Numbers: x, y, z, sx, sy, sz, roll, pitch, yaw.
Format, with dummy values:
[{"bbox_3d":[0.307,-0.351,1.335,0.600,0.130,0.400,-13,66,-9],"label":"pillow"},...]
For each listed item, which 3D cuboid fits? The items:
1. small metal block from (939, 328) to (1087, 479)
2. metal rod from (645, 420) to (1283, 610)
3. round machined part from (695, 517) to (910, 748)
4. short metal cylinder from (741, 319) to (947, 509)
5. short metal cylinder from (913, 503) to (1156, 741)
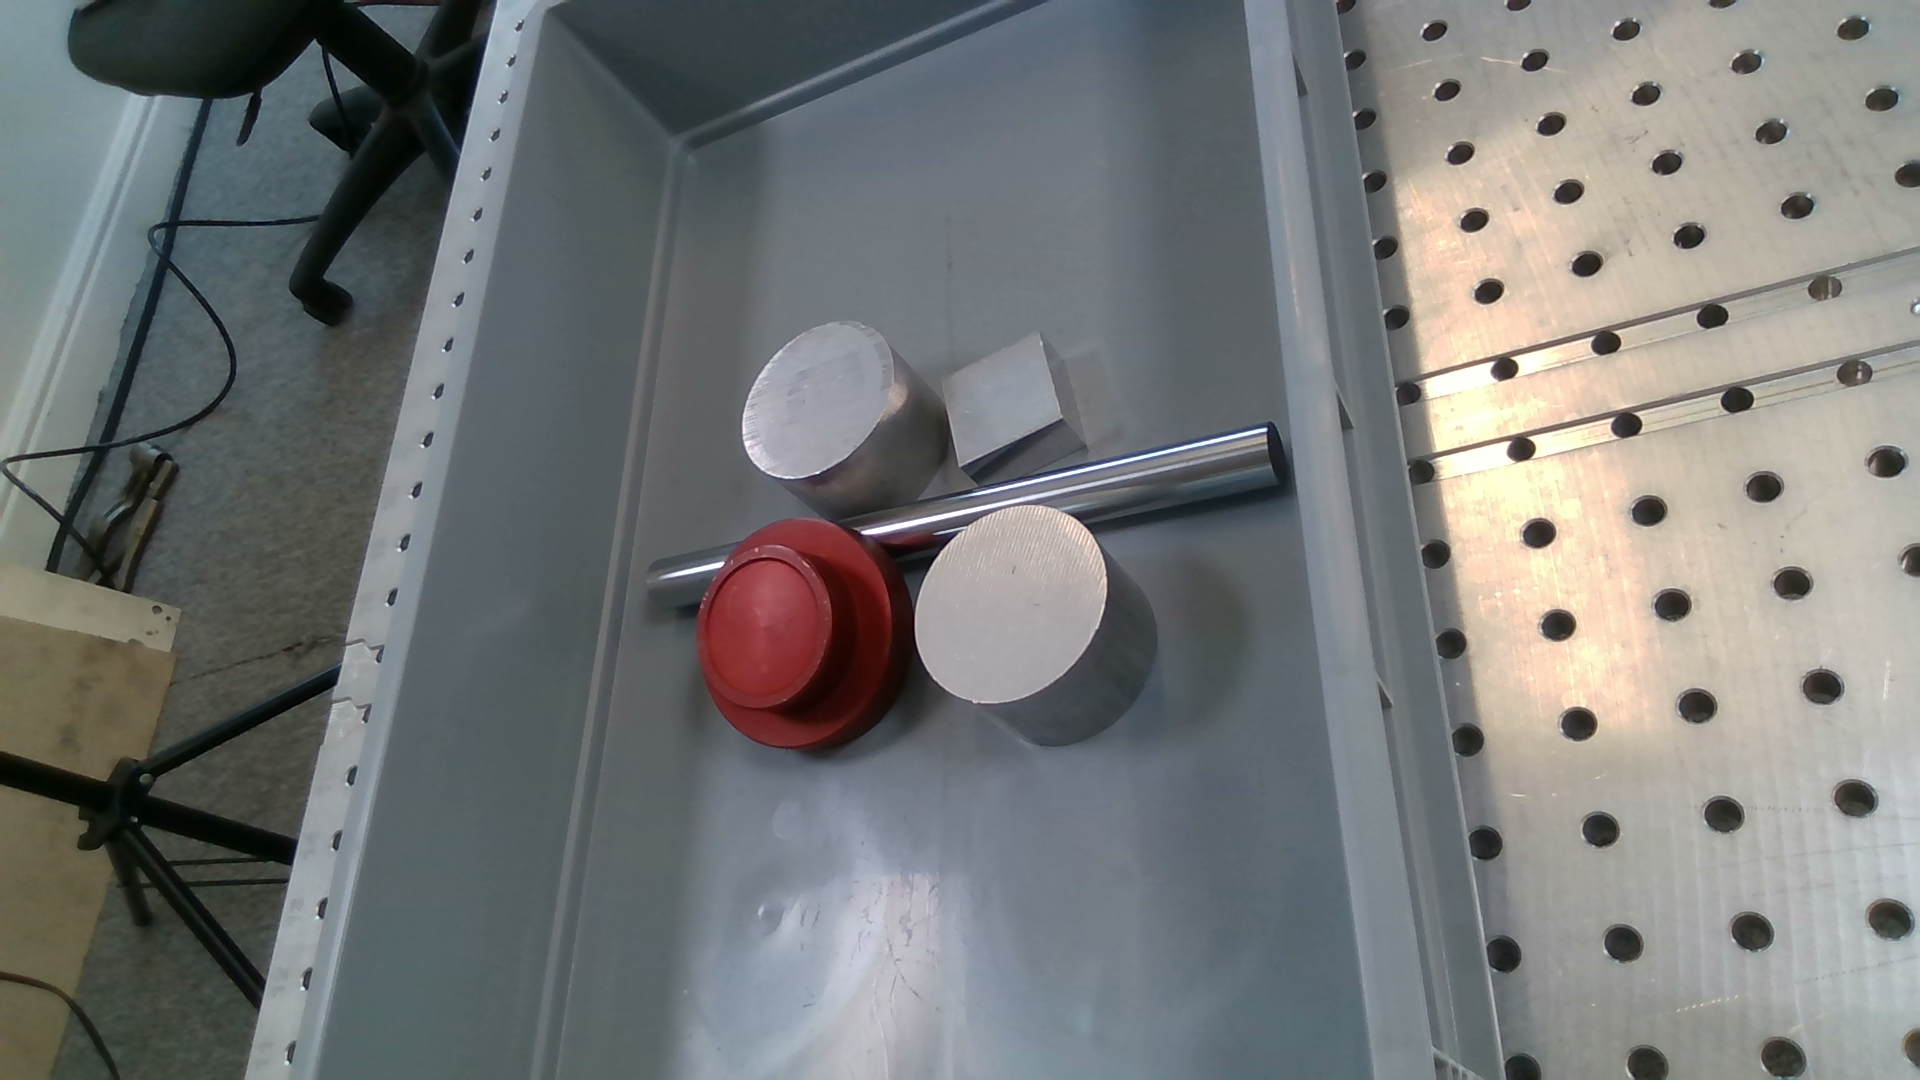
[{"bbox_3d":[0.022,-0.056,0.600,0.050,0.025,0.050,-25,55,19],"label":"small metal block"},{"bbox_3d":[-0.011,-0.006,0.594,0.300,0.025,0.025,-12,60,26],"label":"metal rod"},{"bbox_3d":[-0.072,0.038,0.581,0.098,0.042,0.098,-5,79,26],"label":"round machined part"},{"bbox_3d":[-0.052,-0.053,0.628,0.080,0.050,0.080,-14,59,25],"label":"short metal cylinder"},{"bbox_3d":[0.029,0.032,0.532,0.080,0.050,0.080,-14,59,25],"label":"short metal cylinder"}]
